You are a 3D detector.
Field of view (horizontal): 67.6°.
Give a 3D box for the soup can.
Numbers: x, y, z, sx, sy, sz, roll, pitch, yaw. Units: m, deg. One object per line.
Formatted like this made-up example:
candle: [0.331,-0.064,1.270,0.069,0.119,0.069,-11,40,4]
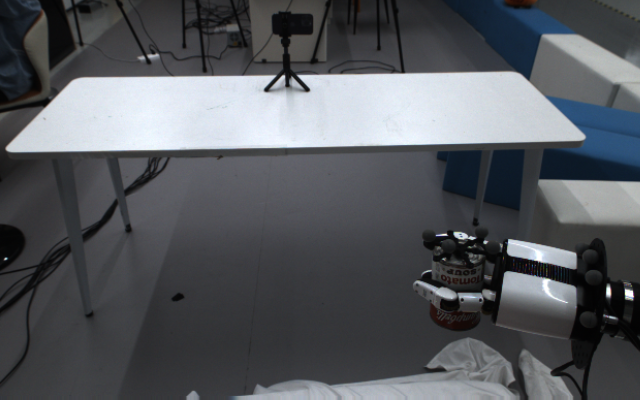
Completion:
soup can: [0.182,0.110,0.639,0.067,0.101,0.067,-3,25,2]
